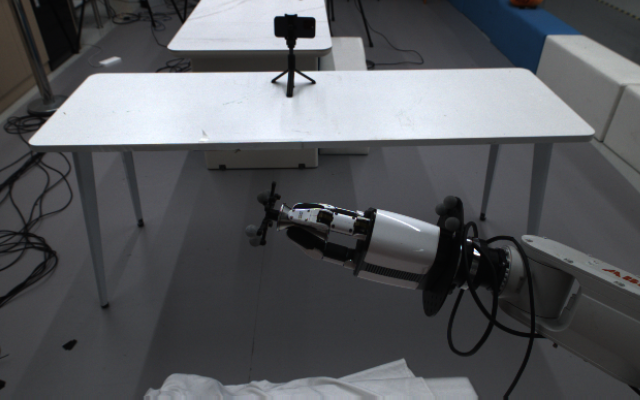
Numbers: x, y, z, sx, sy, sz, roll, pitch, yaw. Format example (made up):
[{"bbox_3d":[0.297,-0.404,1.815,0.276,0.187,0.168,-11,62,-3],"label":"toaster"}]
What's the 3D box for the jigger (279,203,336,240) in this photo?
[{"bbox_3d":[-0.013,0.026,0.645,0.071,0.043,0.043,13,36,4],"label":"jigger"}]
